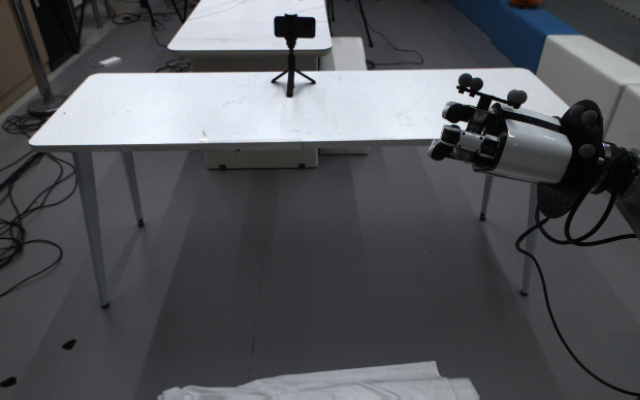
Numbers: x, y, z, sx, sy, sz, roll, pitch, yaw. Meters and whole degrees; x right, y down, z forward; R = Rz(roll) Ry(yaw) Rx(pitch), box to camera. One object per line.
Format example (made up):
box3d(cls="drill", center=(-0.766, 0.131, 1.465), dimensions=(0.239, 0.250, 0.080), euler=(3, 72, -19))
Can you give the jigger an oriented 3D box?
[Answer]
box3d(cls="jigger", center=(0.204, -0.088, 0.645), dimensions=(0.043, 0.071, 0.043), euler=(15, 17, -5))
